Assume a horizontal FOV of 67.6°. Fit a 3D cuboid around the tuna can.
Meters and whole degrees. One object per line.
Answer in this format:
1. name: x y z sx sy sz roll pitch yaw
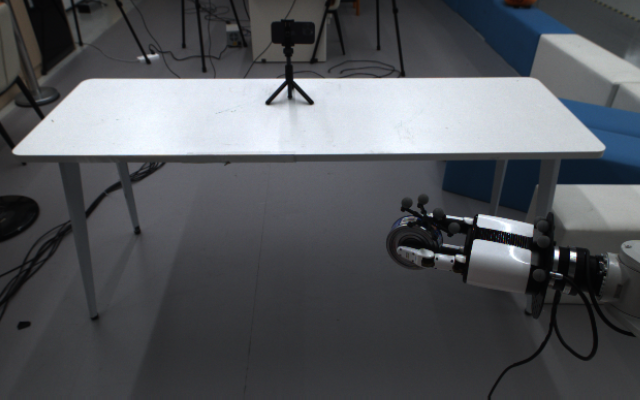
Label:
1. tuna can: 0.153 0.074 0.766 0.085 0.085 0.034 15 31 18
